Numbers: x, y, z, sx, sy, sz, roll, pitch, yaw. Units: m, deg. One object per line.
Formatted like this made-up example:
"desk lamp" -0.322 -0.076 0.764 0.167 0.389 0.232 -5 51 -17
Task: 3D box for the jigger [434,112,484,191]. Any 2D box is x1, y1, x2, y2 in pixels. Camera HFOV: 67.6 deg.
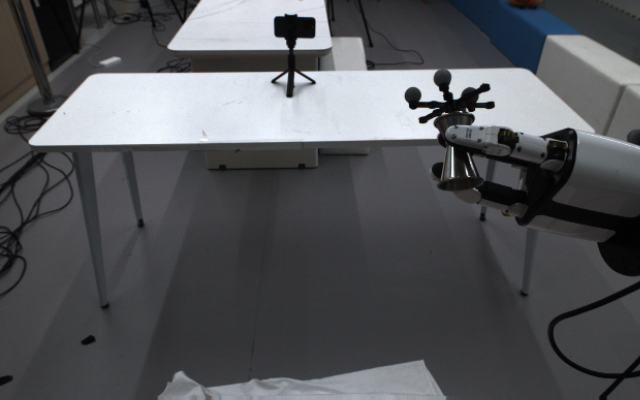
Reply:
"jigger" 0.136 -0.049 0.477 0.043 0.043 0.071 0 75 -4
